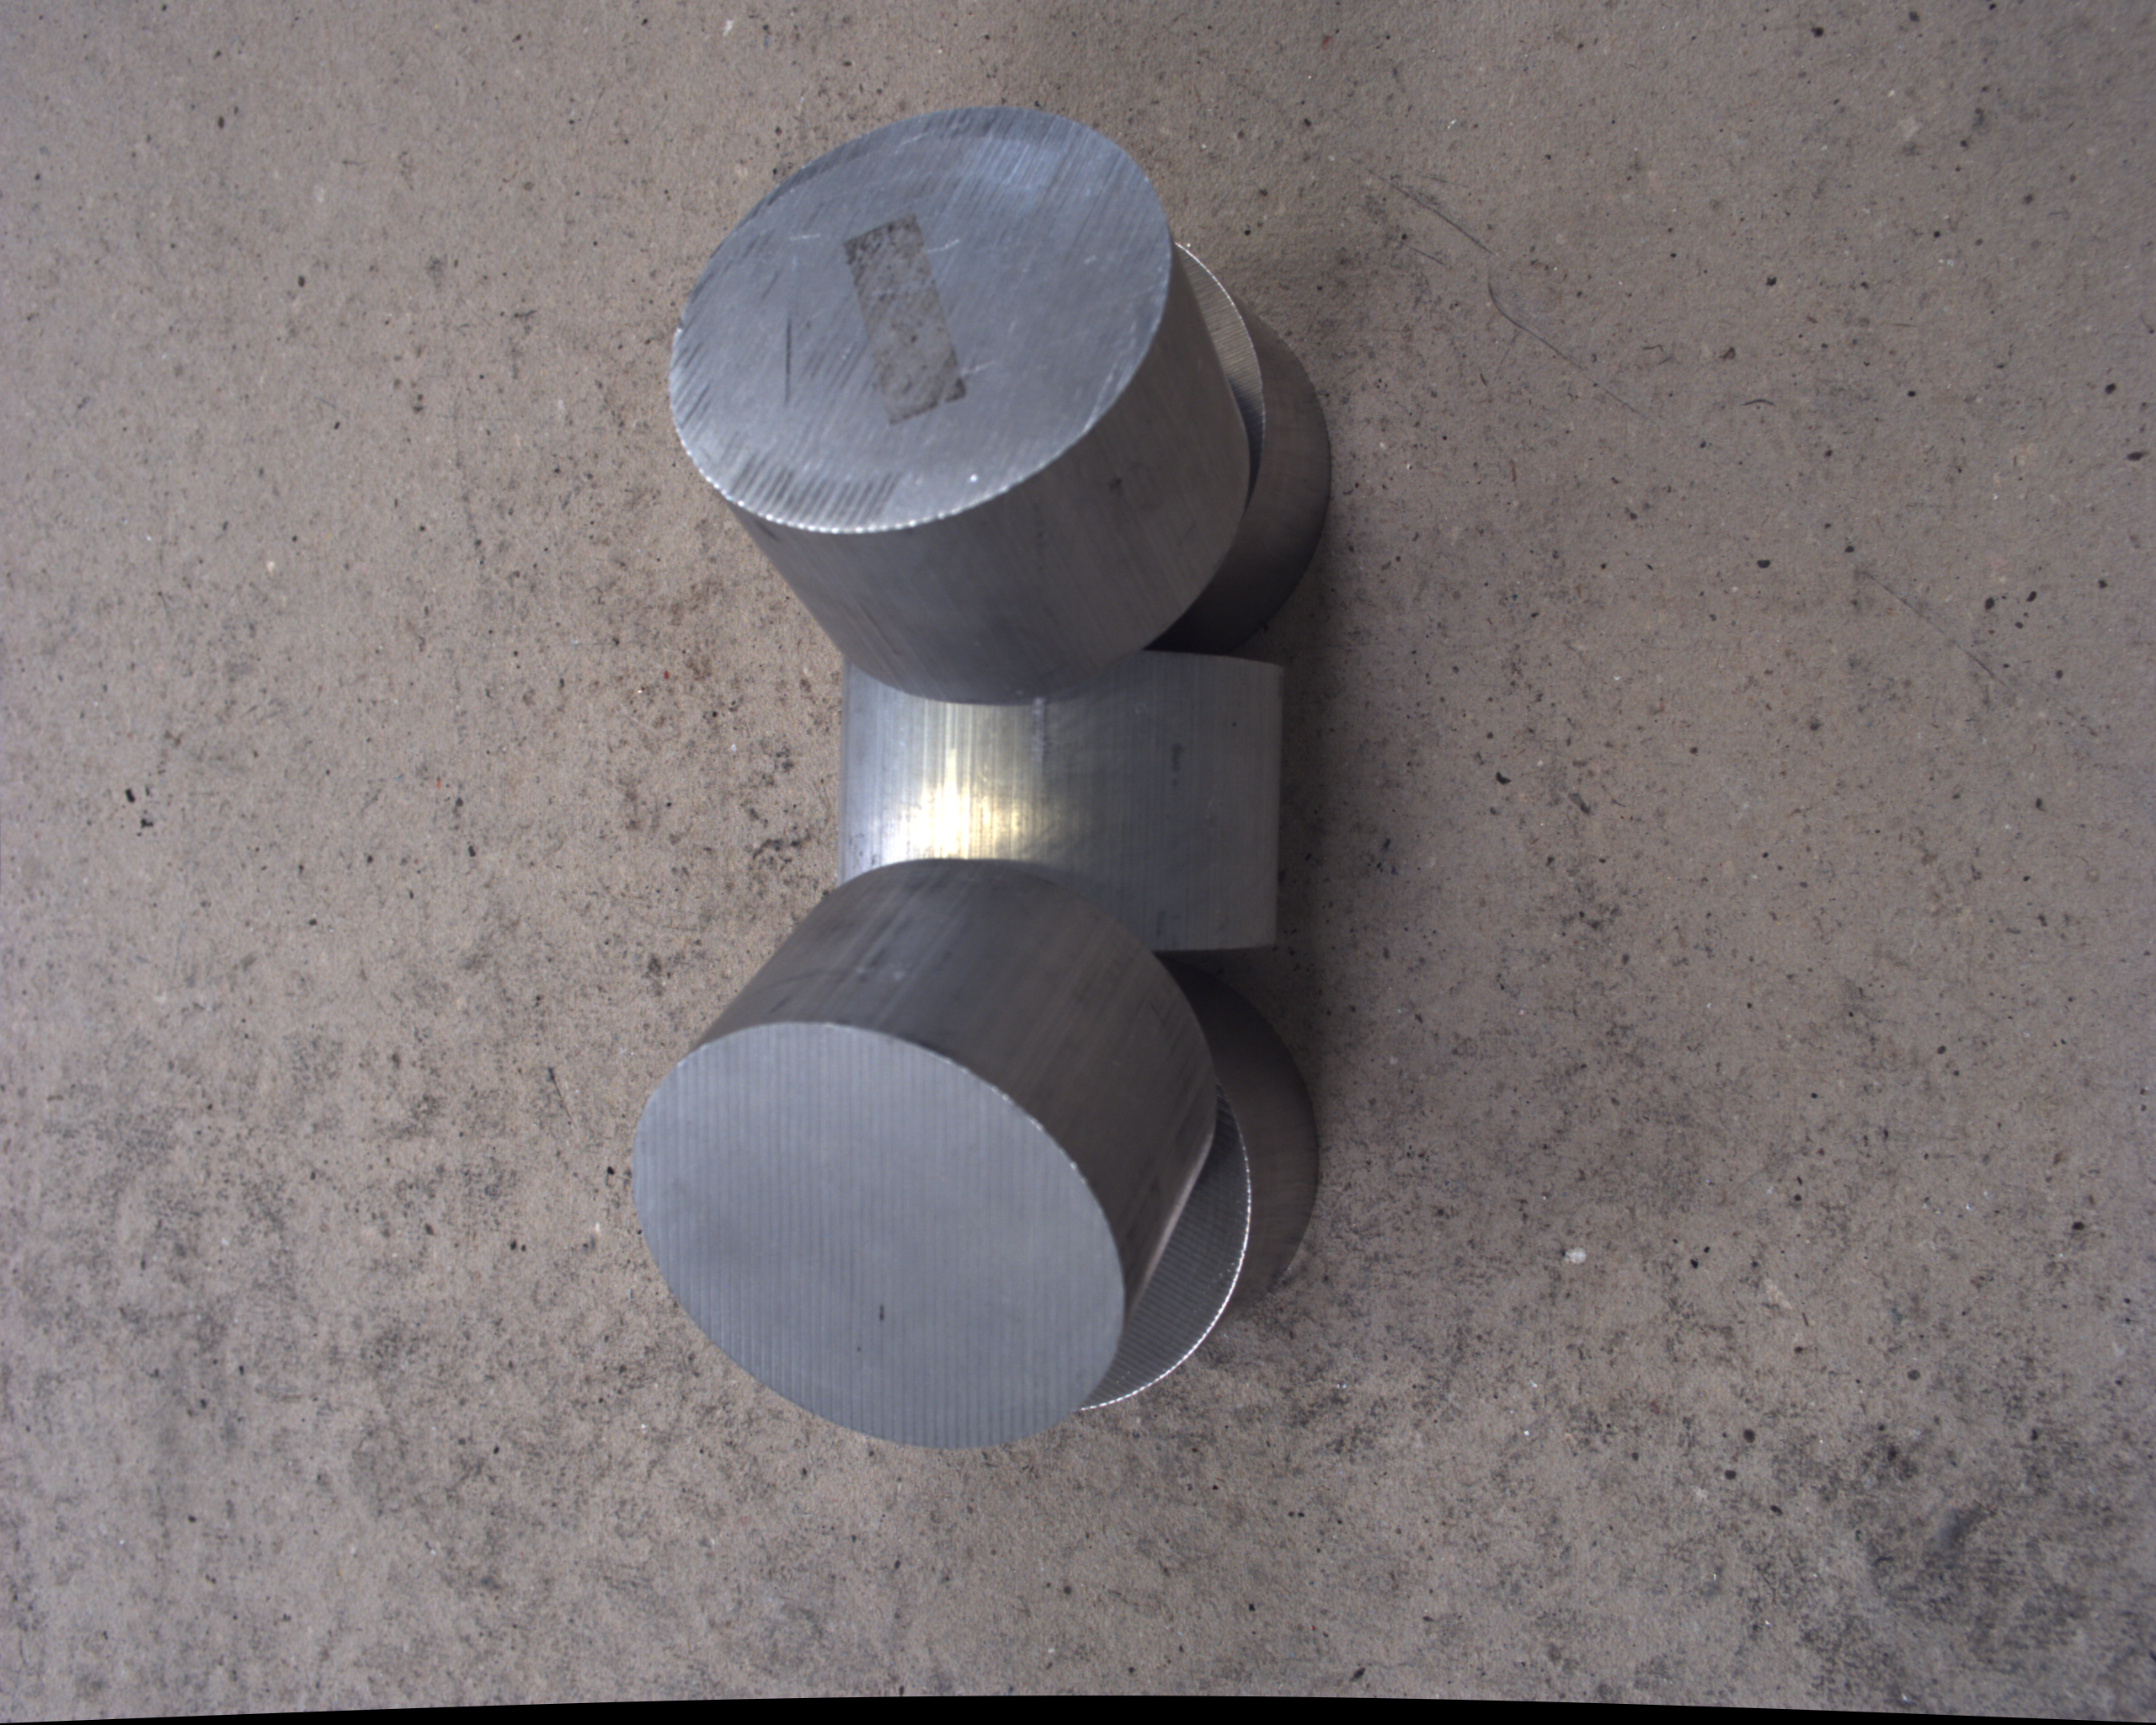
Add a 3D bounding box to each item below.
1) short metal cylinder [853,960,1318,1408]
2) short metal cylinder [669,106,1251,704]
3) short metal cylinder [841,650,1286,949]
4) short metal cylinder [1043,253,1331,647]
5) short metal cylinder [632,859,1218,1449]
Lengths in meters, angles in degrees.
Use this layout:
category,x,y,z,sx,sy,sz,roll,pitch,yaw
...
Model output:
category,x,y,z,sx,sy,sz,roll,pitch,yaw
short metal cylinder,0.000,0.058,0.397,0.080,0.050,0.080,0,90,20
short metal cylinder,-0.017,-0.072,0.334,0.080,0.050,0.080,-8,62,15
short metal cylinder,-0.003,-0.011,0.383,0.080,0.080,0.050,2,91,20
short metal cylinder,0.003,-0.077,0.396,0.080,0.050,0.080,0,90,20
short metal cylinder,-0.023,0.046,0.335,0.080,0.050,0.079,9,121,16
